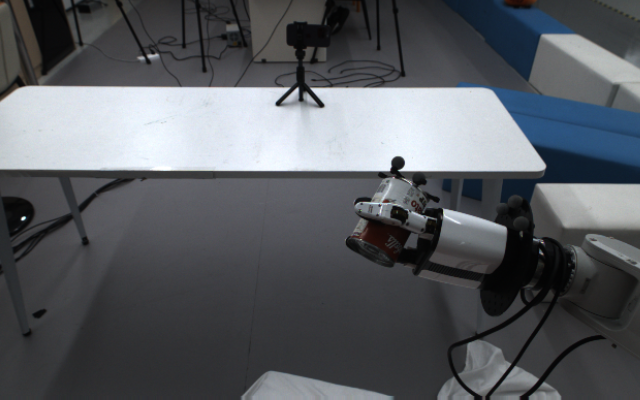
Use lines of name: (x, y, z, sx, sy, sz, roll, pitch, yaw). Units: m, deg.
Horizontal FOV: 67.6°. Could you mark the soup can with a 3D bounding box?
soup can: (0.091, 0.027, 0.632, 0.067, 0.067, 0.101, 22, 71, 27)
